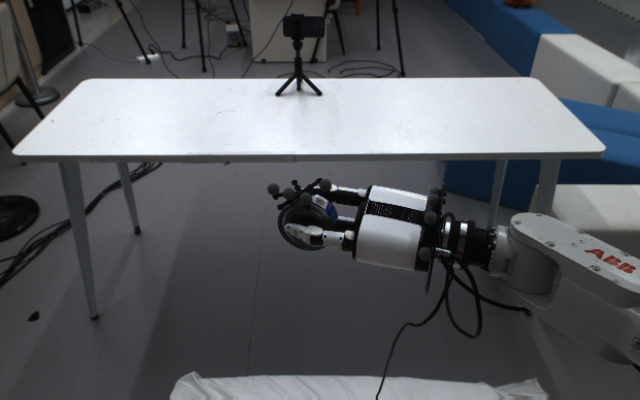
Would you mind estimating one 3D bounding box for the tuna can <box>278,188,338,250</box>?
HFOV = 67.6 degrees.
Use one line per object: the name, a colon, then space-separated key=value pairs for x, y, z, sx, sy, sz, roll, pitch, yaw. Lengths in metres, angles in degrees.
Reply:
tuna can: x=-0.015 y=0.036 z=0.713 sx=0.085 sy=0.085 sz=0.034 roll=10 pitch=33 yaw=11
